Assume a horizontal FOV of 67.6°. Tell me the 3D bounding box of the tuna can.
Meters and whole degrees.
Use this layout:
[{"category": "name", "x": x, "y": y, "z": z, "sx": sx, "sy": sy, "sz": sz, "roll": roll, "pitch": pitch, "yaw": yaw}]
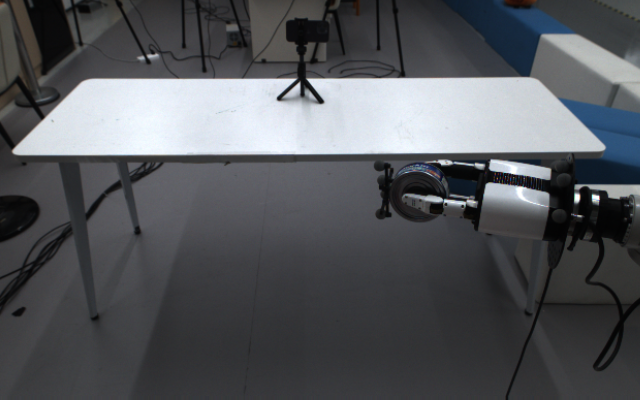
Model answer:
[{"category": "tuna can", "x": 0.147, "y": -0.015, "z": 0.716, "sx": 0.085, "sy": 0.085, "sz": 0.034, "roll": 12, "pitch": 27, "yaw": 14}]
